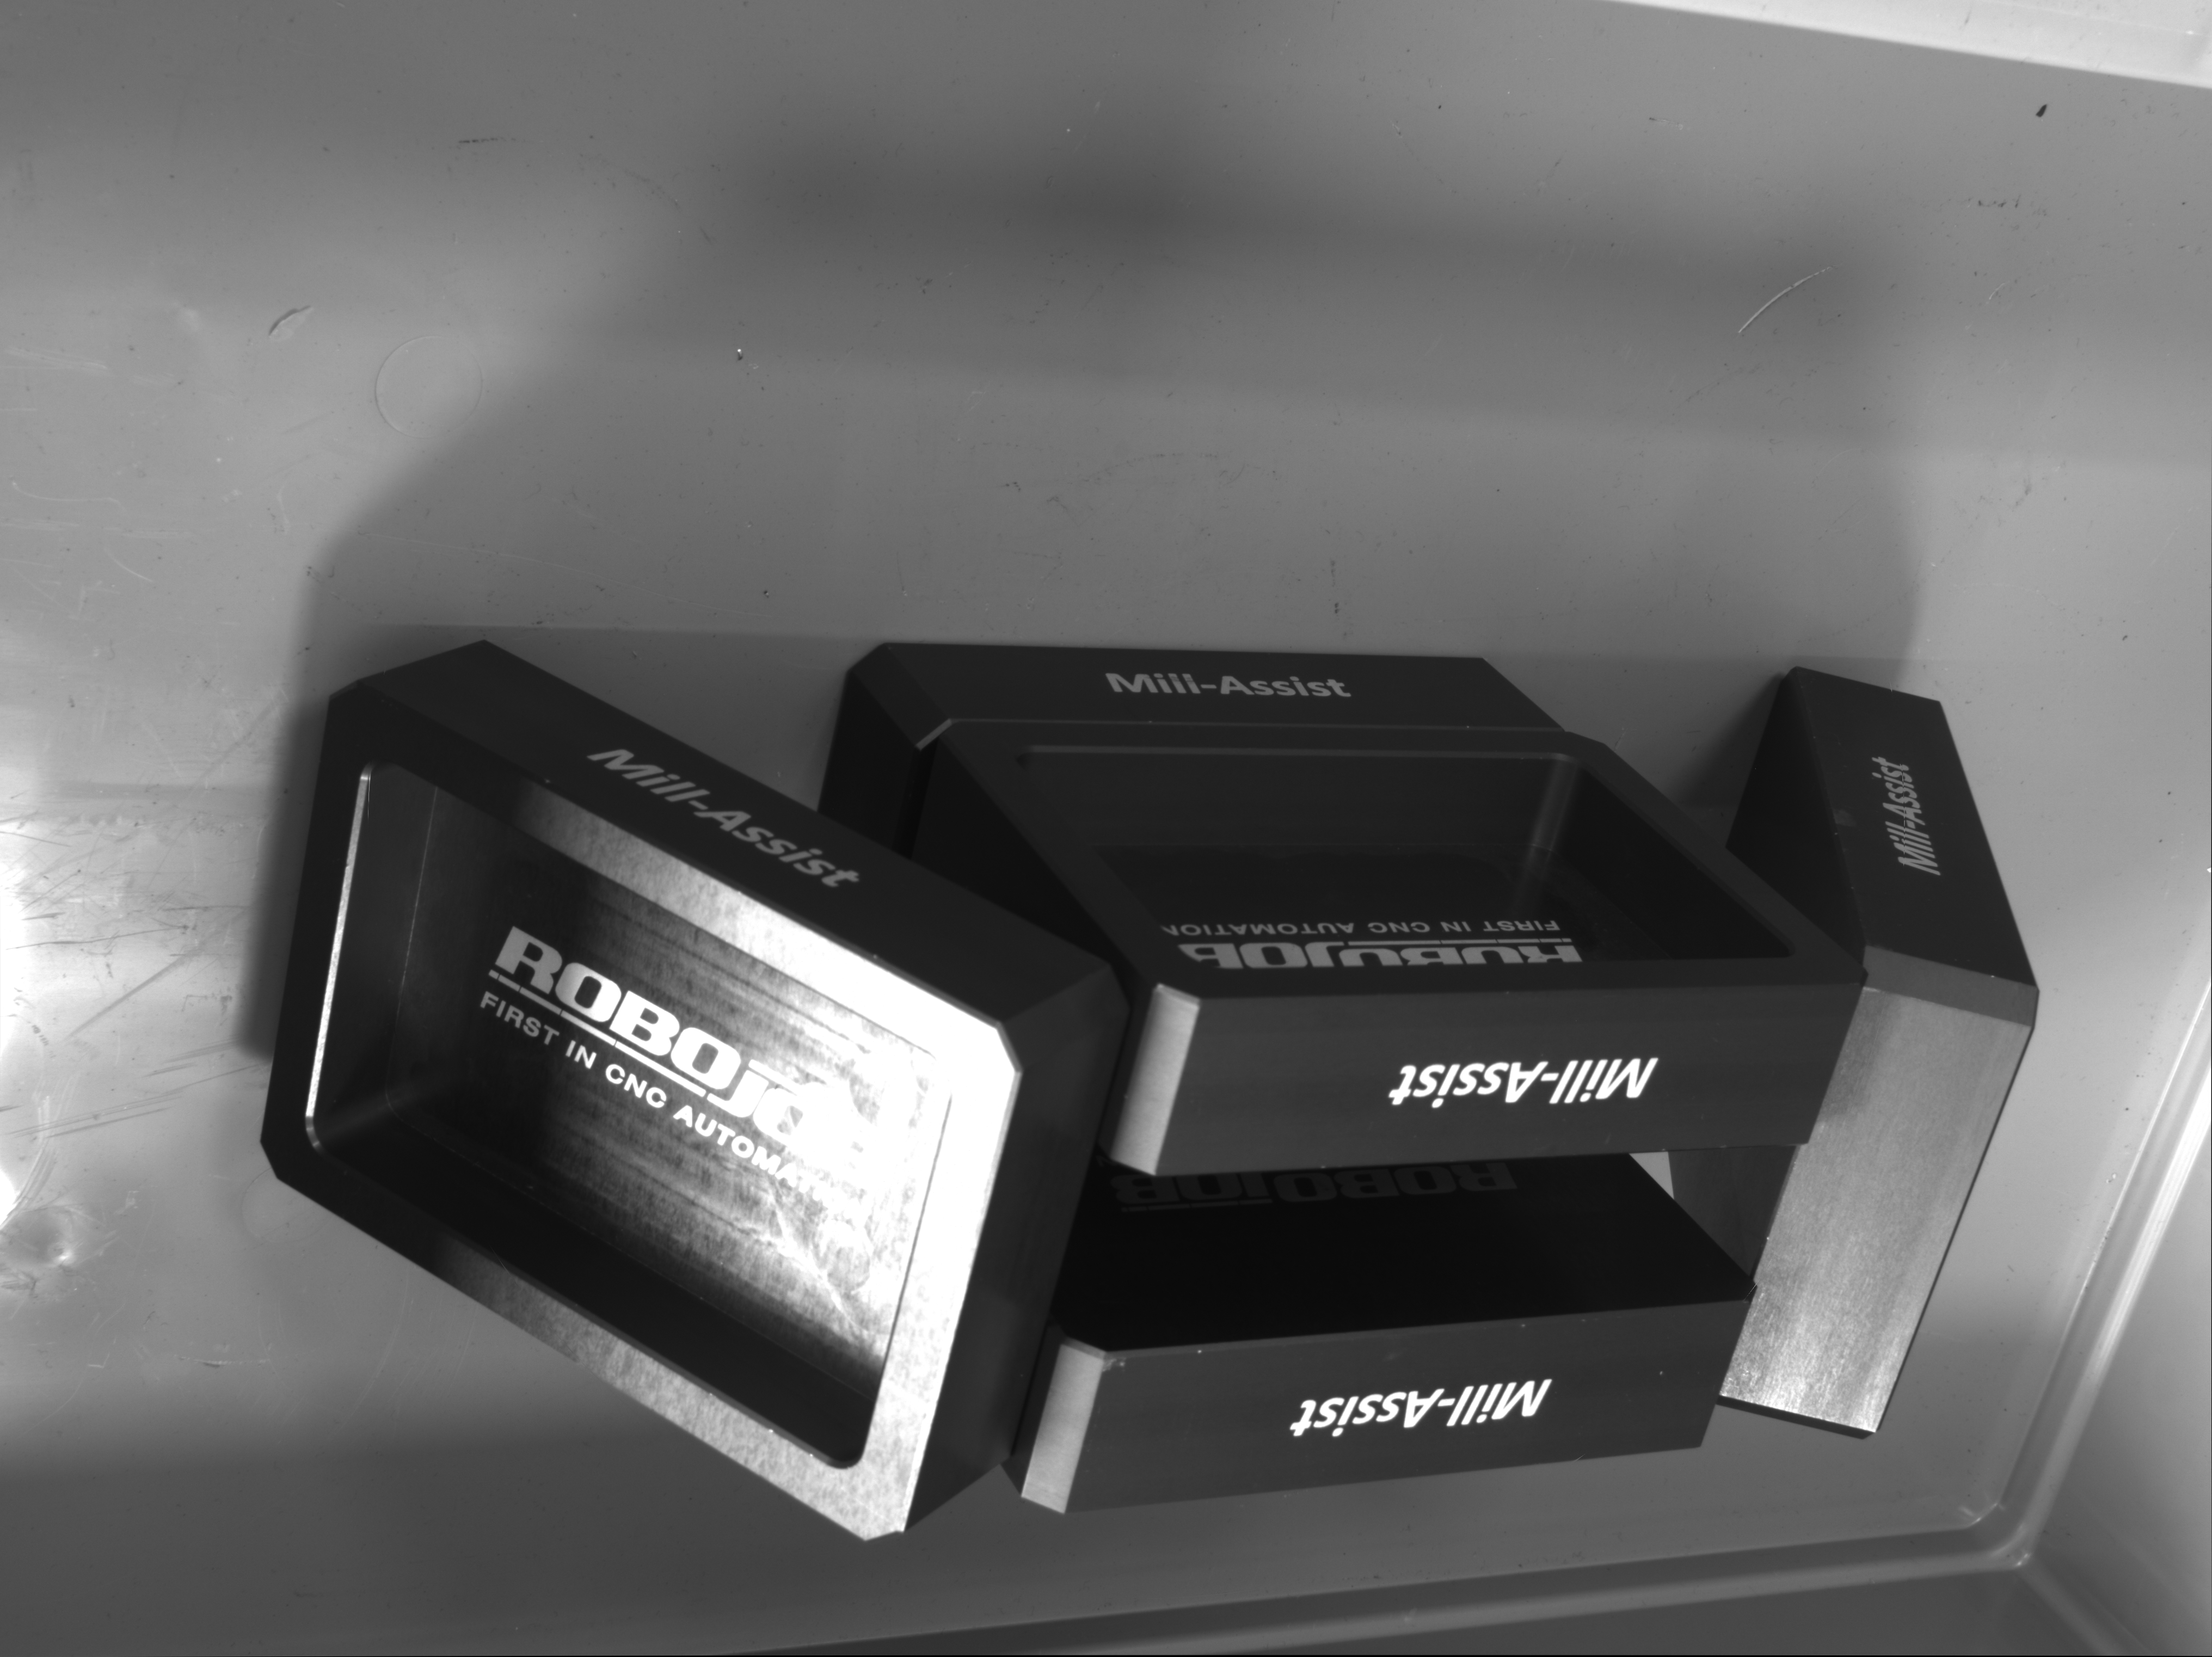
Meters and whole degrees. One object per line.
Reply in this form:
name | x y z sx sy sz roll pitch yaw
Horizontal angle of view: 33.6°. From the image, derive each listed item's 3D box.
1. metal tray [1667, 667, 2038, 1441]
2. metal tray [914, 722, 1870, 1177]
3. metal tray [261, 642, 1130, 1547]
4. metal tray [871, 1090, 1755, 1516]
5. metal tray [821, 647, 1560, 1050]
metal tray | 0.130 0.037 0.662 0.030 0.130 0.090 14 115 -2
metal tray | 0.044 0.017 0.589 0.130 0.090 0.030 0 118 -28
metal tray | -0.066 0.038 0.558 0.030 0.130 0.090 -26 136 -54
metal tray | 0.031 0.070 0.615 0.130 0.090 0.030 0 118 -28
metal tray | 0.012 0.015 0.648 0.130 0.030 0.090 -1 118 -29
